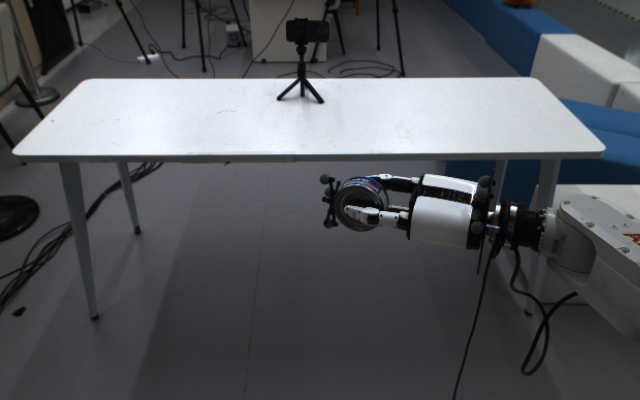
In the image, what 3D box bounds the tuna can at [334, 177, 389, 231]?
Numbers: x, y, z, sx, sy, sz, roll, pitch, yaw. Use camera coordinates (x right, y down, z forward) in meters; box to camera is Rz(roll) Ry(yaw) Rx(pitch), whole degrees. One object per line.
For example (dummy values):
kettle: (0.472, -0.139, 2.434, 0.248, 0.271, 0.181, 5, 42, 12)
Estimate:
tuna can: (0.068, 0.008, 0.774, 0.085, 0.085, 0.034, 12, 27, 15)
